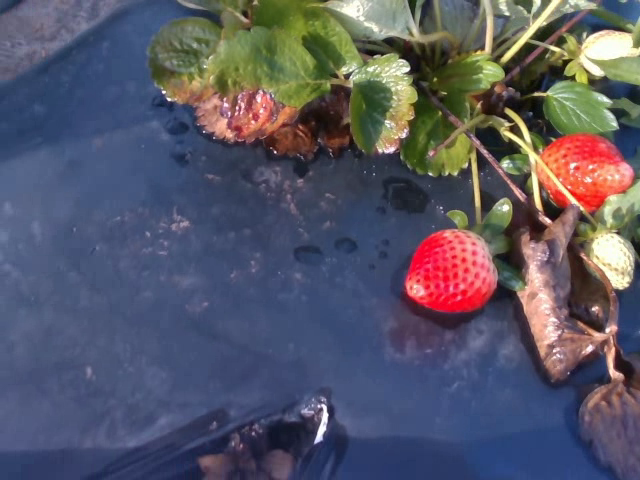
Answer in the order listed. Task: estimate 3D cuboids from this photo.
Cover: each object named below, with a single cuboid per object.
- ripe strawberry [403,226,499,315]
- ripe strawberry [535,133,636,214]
[{"bbox_3d":[0.045,0.012,0.229,0.043,0.030,0.035,-30,56,-30],"label":"ripe strawberry"},{"bbox_3d":[0.116,-0.032,0.266,0.039,0.032,0.048,-12,8,-13],"label":"ripe strawberry"}]
